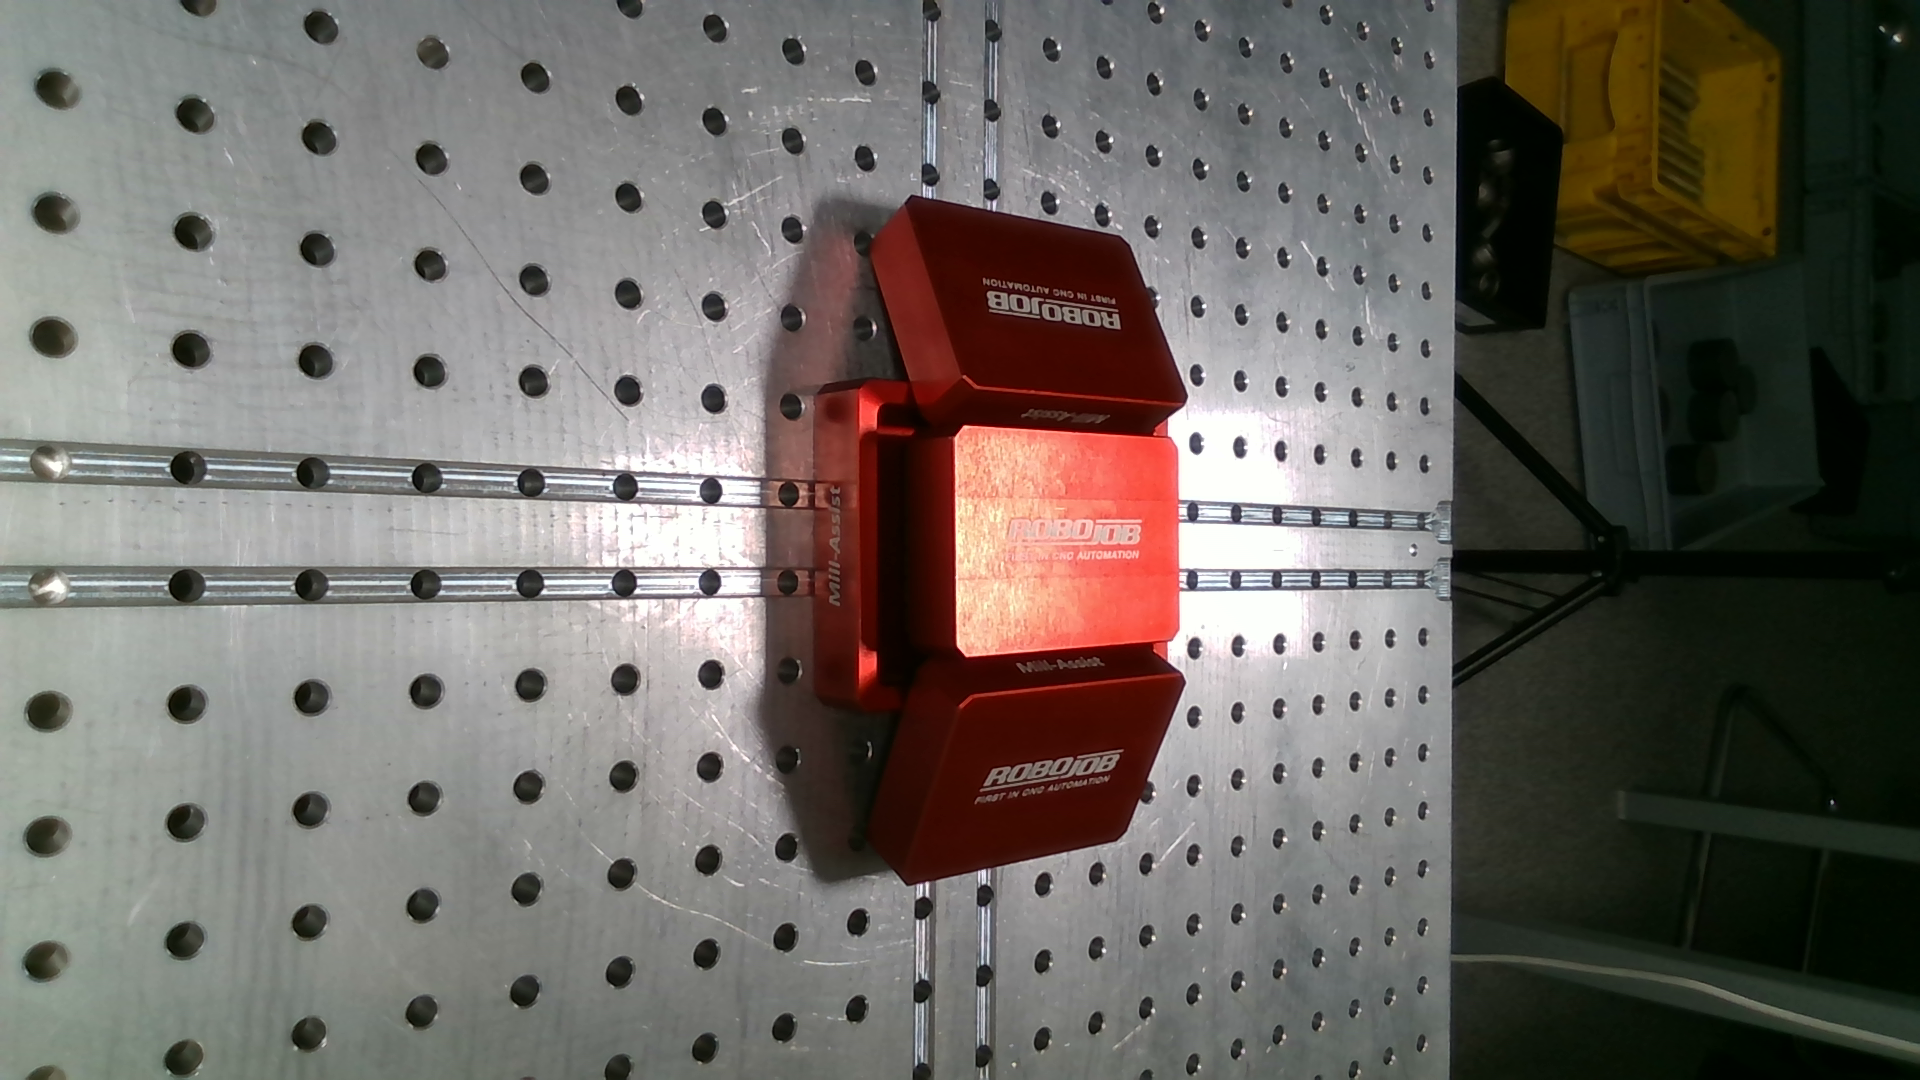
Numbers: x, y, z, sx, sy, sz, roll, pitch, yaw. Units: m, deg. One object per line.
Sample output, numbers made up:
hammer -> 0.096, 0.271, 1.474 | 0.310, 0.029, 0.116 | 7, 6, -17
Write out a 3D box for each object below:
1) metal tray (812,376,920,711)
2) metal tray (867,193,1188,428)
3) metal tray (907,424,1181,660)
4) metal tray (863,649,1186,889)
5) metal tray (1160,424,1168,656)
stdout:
metal tray -> -0.016, 0.002, 0.570 | 0.090, 0.030, 0.130 | 0, 90, -40
metal tray -> 0.031, -0.093, 0.585 | 0.130, 0.030, 0.090 | -1, 64, -40
metal tray -> 0.038, 0.000, 0.575 | 0.130, 0.030, 0.090 | -1, 90, -40
metal tray -> 0.029, 0.093, 0.583 | 0.130, 0.030, 0.090 | -1, 118, -40
metal tray -> 0.054, 0.001, 0.628 | 0.090, 0.030, 0.130 | 0, 90, -40
